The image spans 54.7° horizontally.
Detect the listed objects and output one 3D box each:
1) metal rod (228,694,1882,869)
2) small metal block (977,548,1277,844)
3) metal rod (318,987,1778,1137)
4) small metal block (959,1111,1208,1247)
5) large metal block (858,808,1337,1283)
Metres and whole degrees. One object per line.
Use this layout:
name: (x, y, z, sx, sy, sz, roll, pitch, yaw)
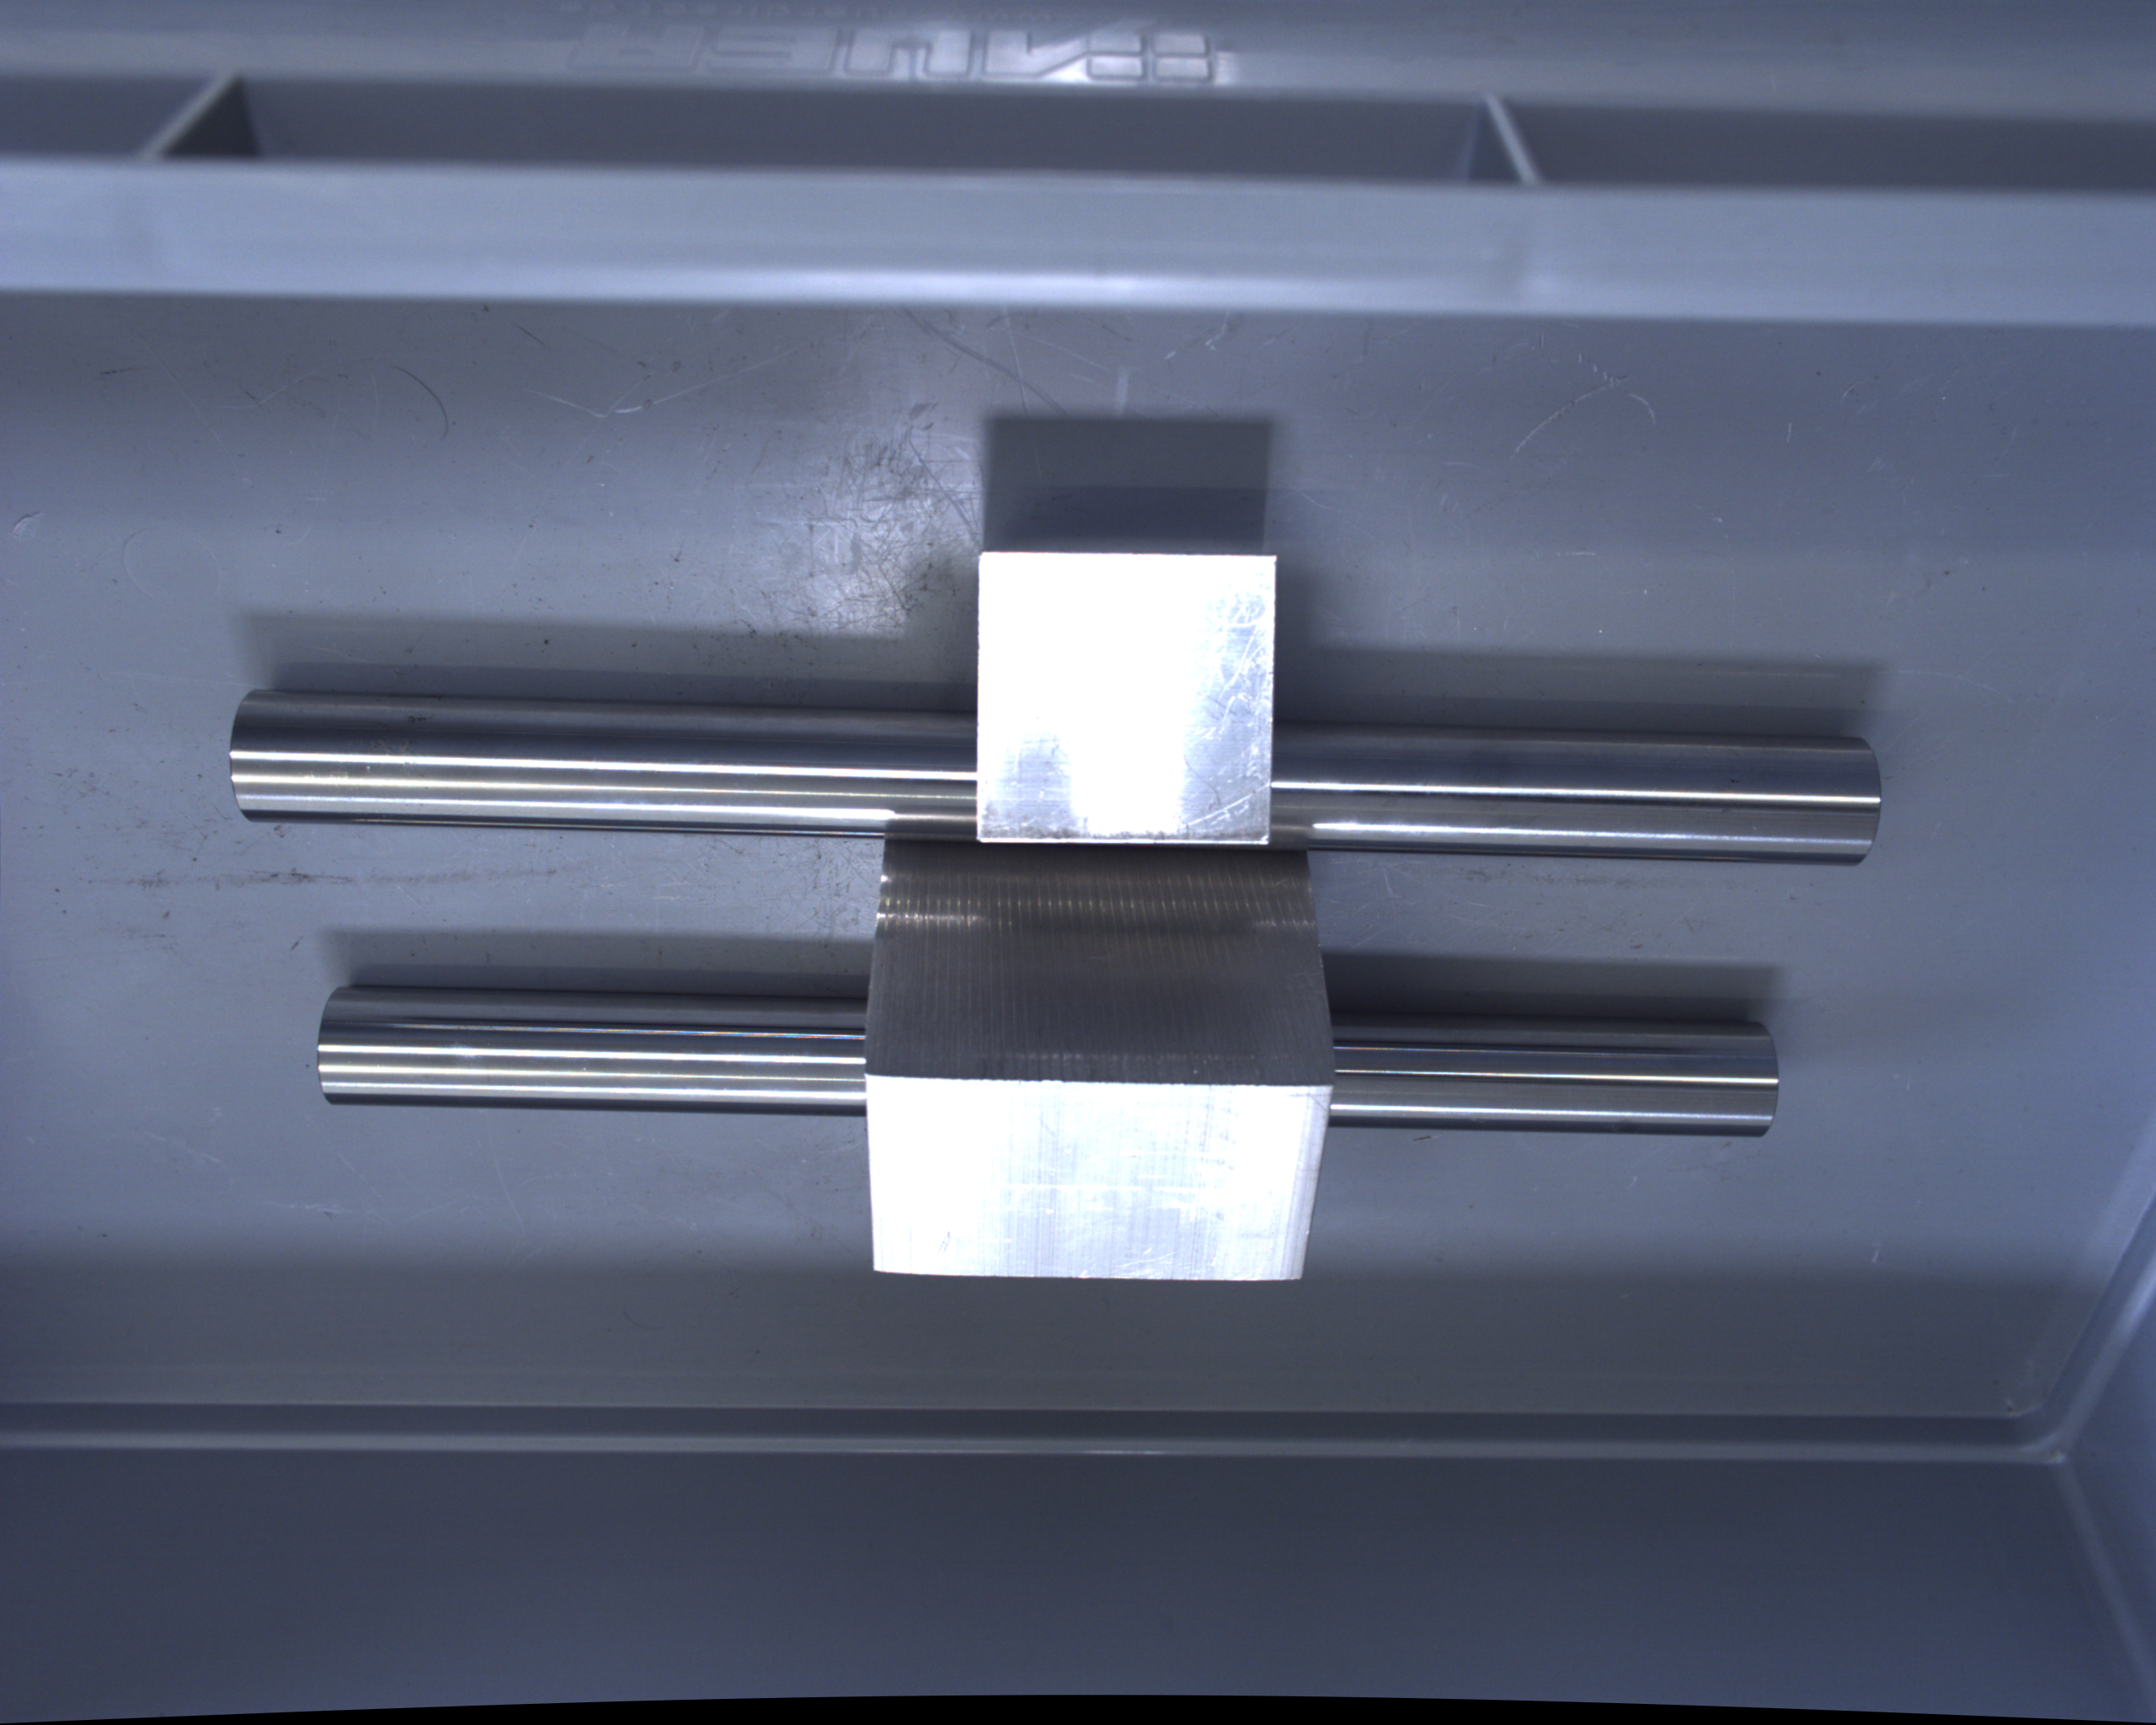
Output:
metal rod: (-0.002, -0.015, 0.393, 0.302, 0.025, 0.025, 2, 130, -2)
small metal block: (0.008, -0.029, 0.367, 0.050, 0.025, 0.050, 1, 96, -1)
metal rod: (-0.005, 0.043, 0.444, 0.302, 0.025, 0.025, 2, 130, -2)
small metal block: (0.000, 0.069, 0.450, 0.050, 0.025, 0.050, 2, 168, -2)
large metal block: (0.003, 0.032, 0.397, 0.081, 0.080, 0.050, 1, 130, -2)
